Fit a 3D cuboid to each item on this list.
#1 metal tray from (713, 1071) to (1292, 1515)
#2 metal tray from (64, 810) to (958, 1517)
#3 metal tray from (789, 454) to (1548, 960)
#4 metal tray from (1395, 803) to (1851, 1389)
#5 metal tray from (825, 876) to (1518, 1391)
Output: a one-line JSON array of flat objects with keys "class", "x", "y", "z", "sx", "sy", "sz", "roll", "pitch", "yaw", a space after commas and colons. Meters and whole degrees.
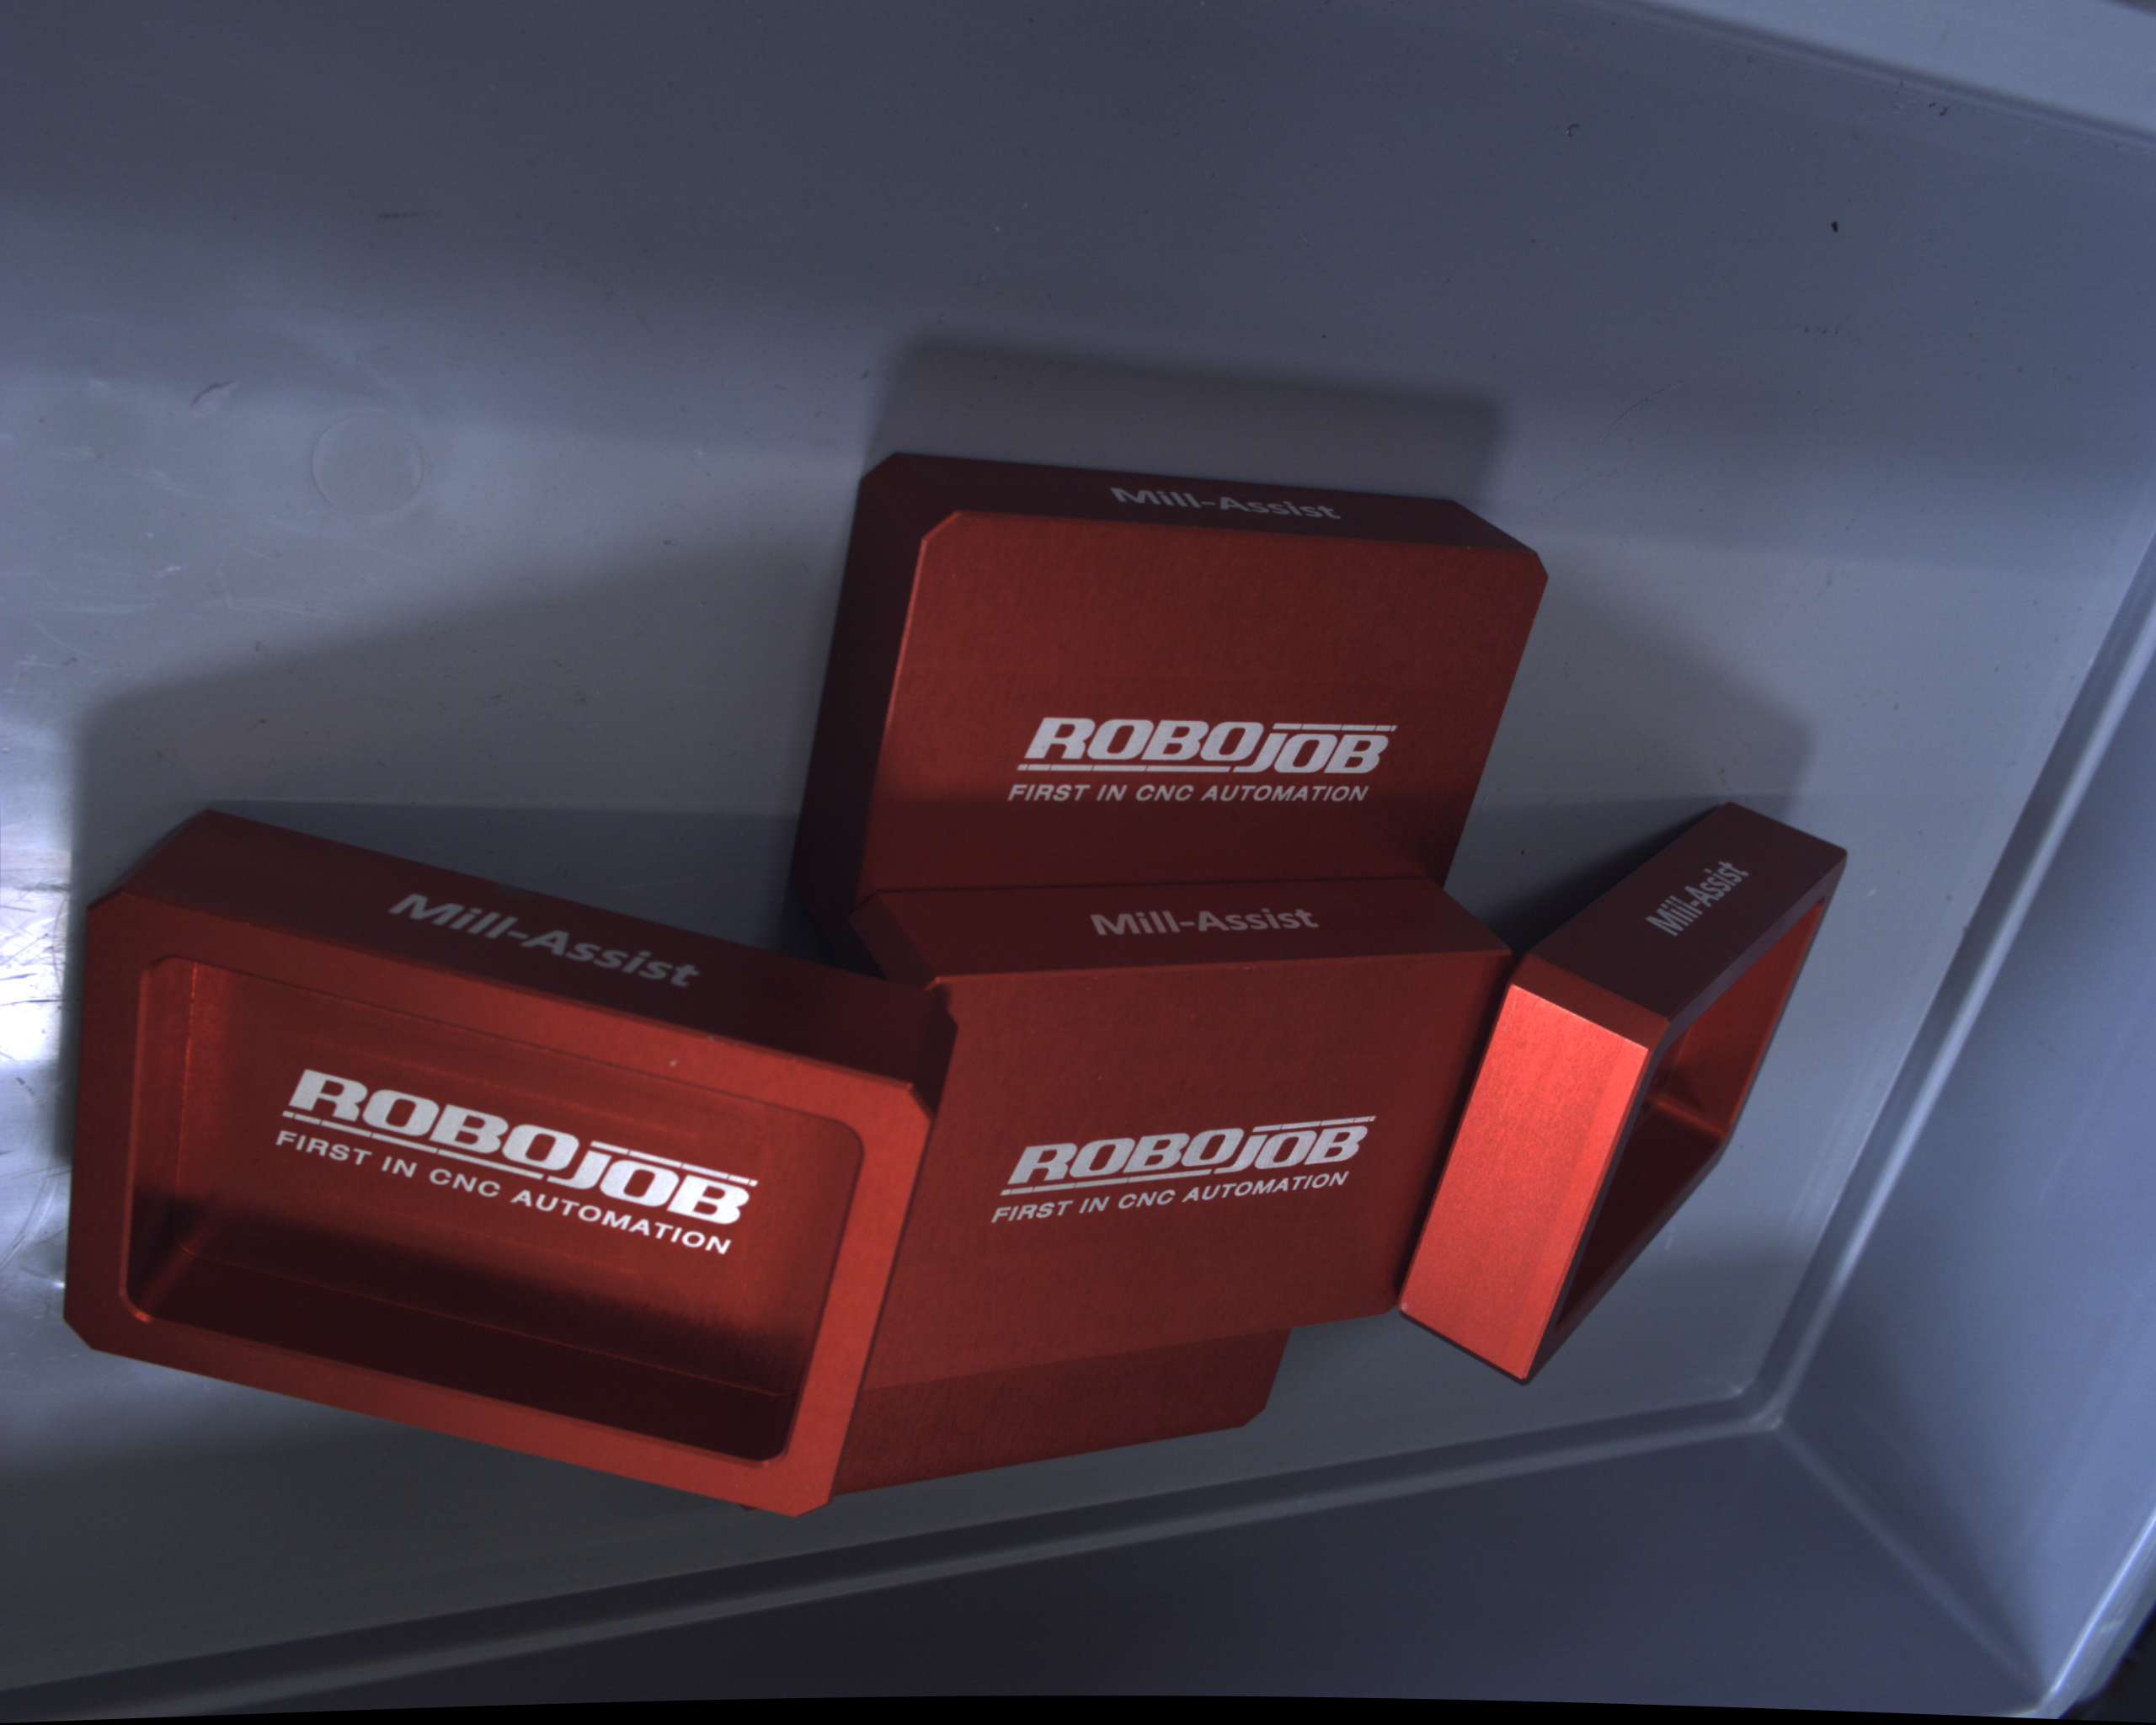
[{"class": "metal tray", "x": -0.011, "y": 0.088, "z": 0.450, "sx": 0.131, "sy": 0.030, "sz": 0.089, "roll": -1, "pitch": 119, "yaw": -29}, {"class": "metal tray", "x": -0.094, "y": 0.051, "z": 0.344, "sx": 0.131, "sy": 0.030, "sz": 0.089, "roll": 14, "pitch": 115, "yaw": -3}, {"class": "metal tray", "x": 0.018, "y": -0.025, "z": 0.396, "sx": 0.131, "sy": 0.030, "sz": 0.089, "roll": -1, "pitch": 119, "yaw": -29}, {"class": "metal tray", "x": 0.122, "y": 0.047, "z": 0.458, "sx": 0.131, "sy": 0.030, "sz": 0.089, "roll": -25, "pitch": 135, "yaw": -51}, {"class": "metal tray", "x": 0.015, "y": 0.050, "z": 0.403, "sx": 0.131, "sy": 0.030, "sz": 0.089, "roll": -2, "pitch": 119, "yaw": -28}]
